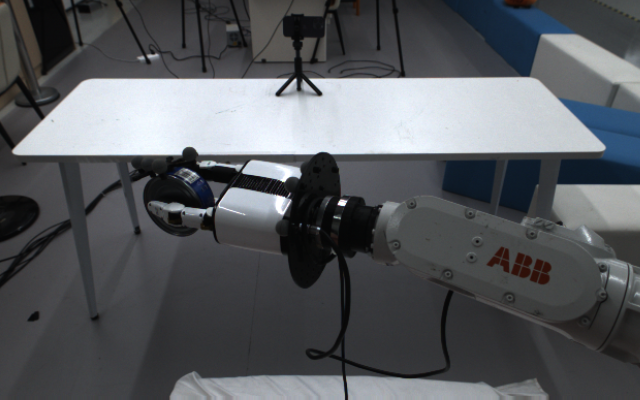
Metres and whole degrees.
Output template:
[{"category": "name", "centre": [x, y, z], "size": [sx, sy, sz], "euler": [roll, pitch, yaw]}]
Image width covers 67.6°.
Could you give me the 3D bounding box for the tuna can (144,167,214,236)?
[{"category": "tuna can", "centre": [-0.174, 0.003, 0.617], "size": [0.085, 0.085, 0.034], "euler": [13, 28, 15]}]
